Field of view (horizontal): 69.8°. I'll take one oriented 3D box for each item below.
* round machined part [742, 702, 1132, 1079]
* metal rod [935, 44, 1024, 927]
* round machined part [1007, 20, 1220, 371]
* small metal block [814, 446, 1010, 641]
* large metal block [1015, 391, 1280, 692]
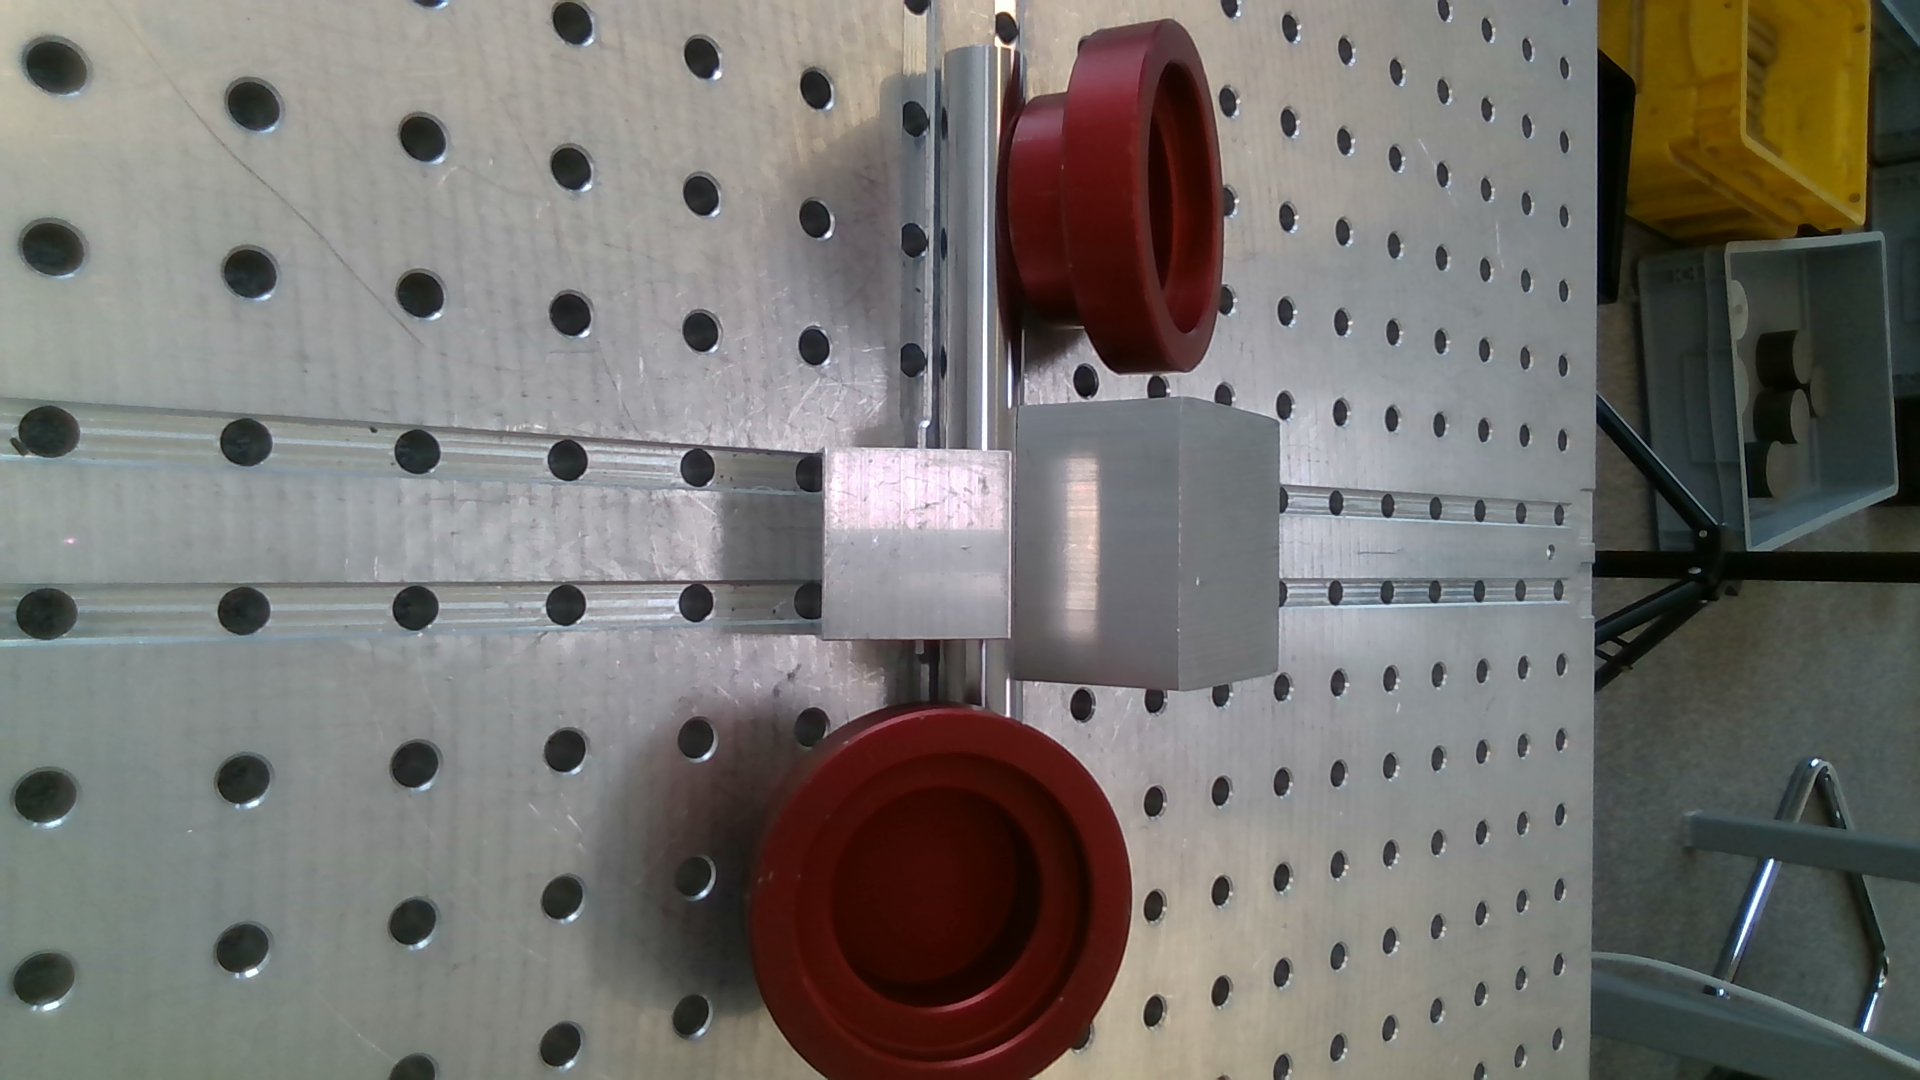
[{"bbox_3d":[-0.008,0.091,0.361,0.098,0.042,0.098,0,90,-15],"label":"round machined part"},{"bbox_3d":[0.005,0.010,0.400,0.025,0.025,0.300,0,90,-40],"label":"metal rod"},{"bbox_3d":[0.046,-0.098,0.405,0.098,0.042,0.098,1,90,-66],"label":"round machined part"},{"bbox_3d":[-0.014,0.001,0.370,0.050,0.025,0.050,1,90,-12],"label":"small metal block"},{"bbox_3d":[0.058,0.001,0.413,0.080,0.050,0.080,1,89,-58],"label":"large metal block"}]
